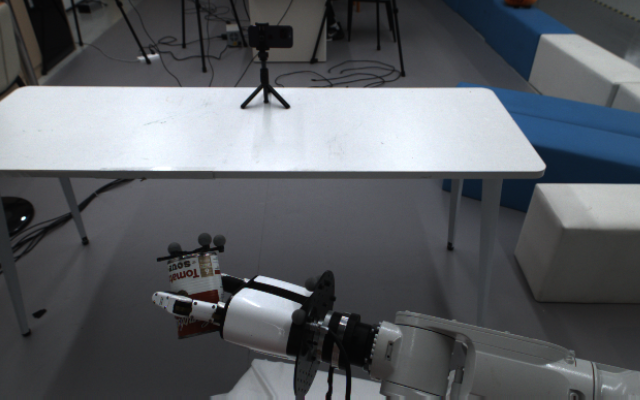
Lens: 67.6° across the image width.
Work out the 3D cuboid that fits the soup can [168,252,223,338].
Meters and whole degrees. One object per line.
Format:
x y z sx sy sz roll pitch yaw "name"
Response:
-0.159 0.126 0.640 0.067 0.067 0.101 -10 80 -17 "soup can"
